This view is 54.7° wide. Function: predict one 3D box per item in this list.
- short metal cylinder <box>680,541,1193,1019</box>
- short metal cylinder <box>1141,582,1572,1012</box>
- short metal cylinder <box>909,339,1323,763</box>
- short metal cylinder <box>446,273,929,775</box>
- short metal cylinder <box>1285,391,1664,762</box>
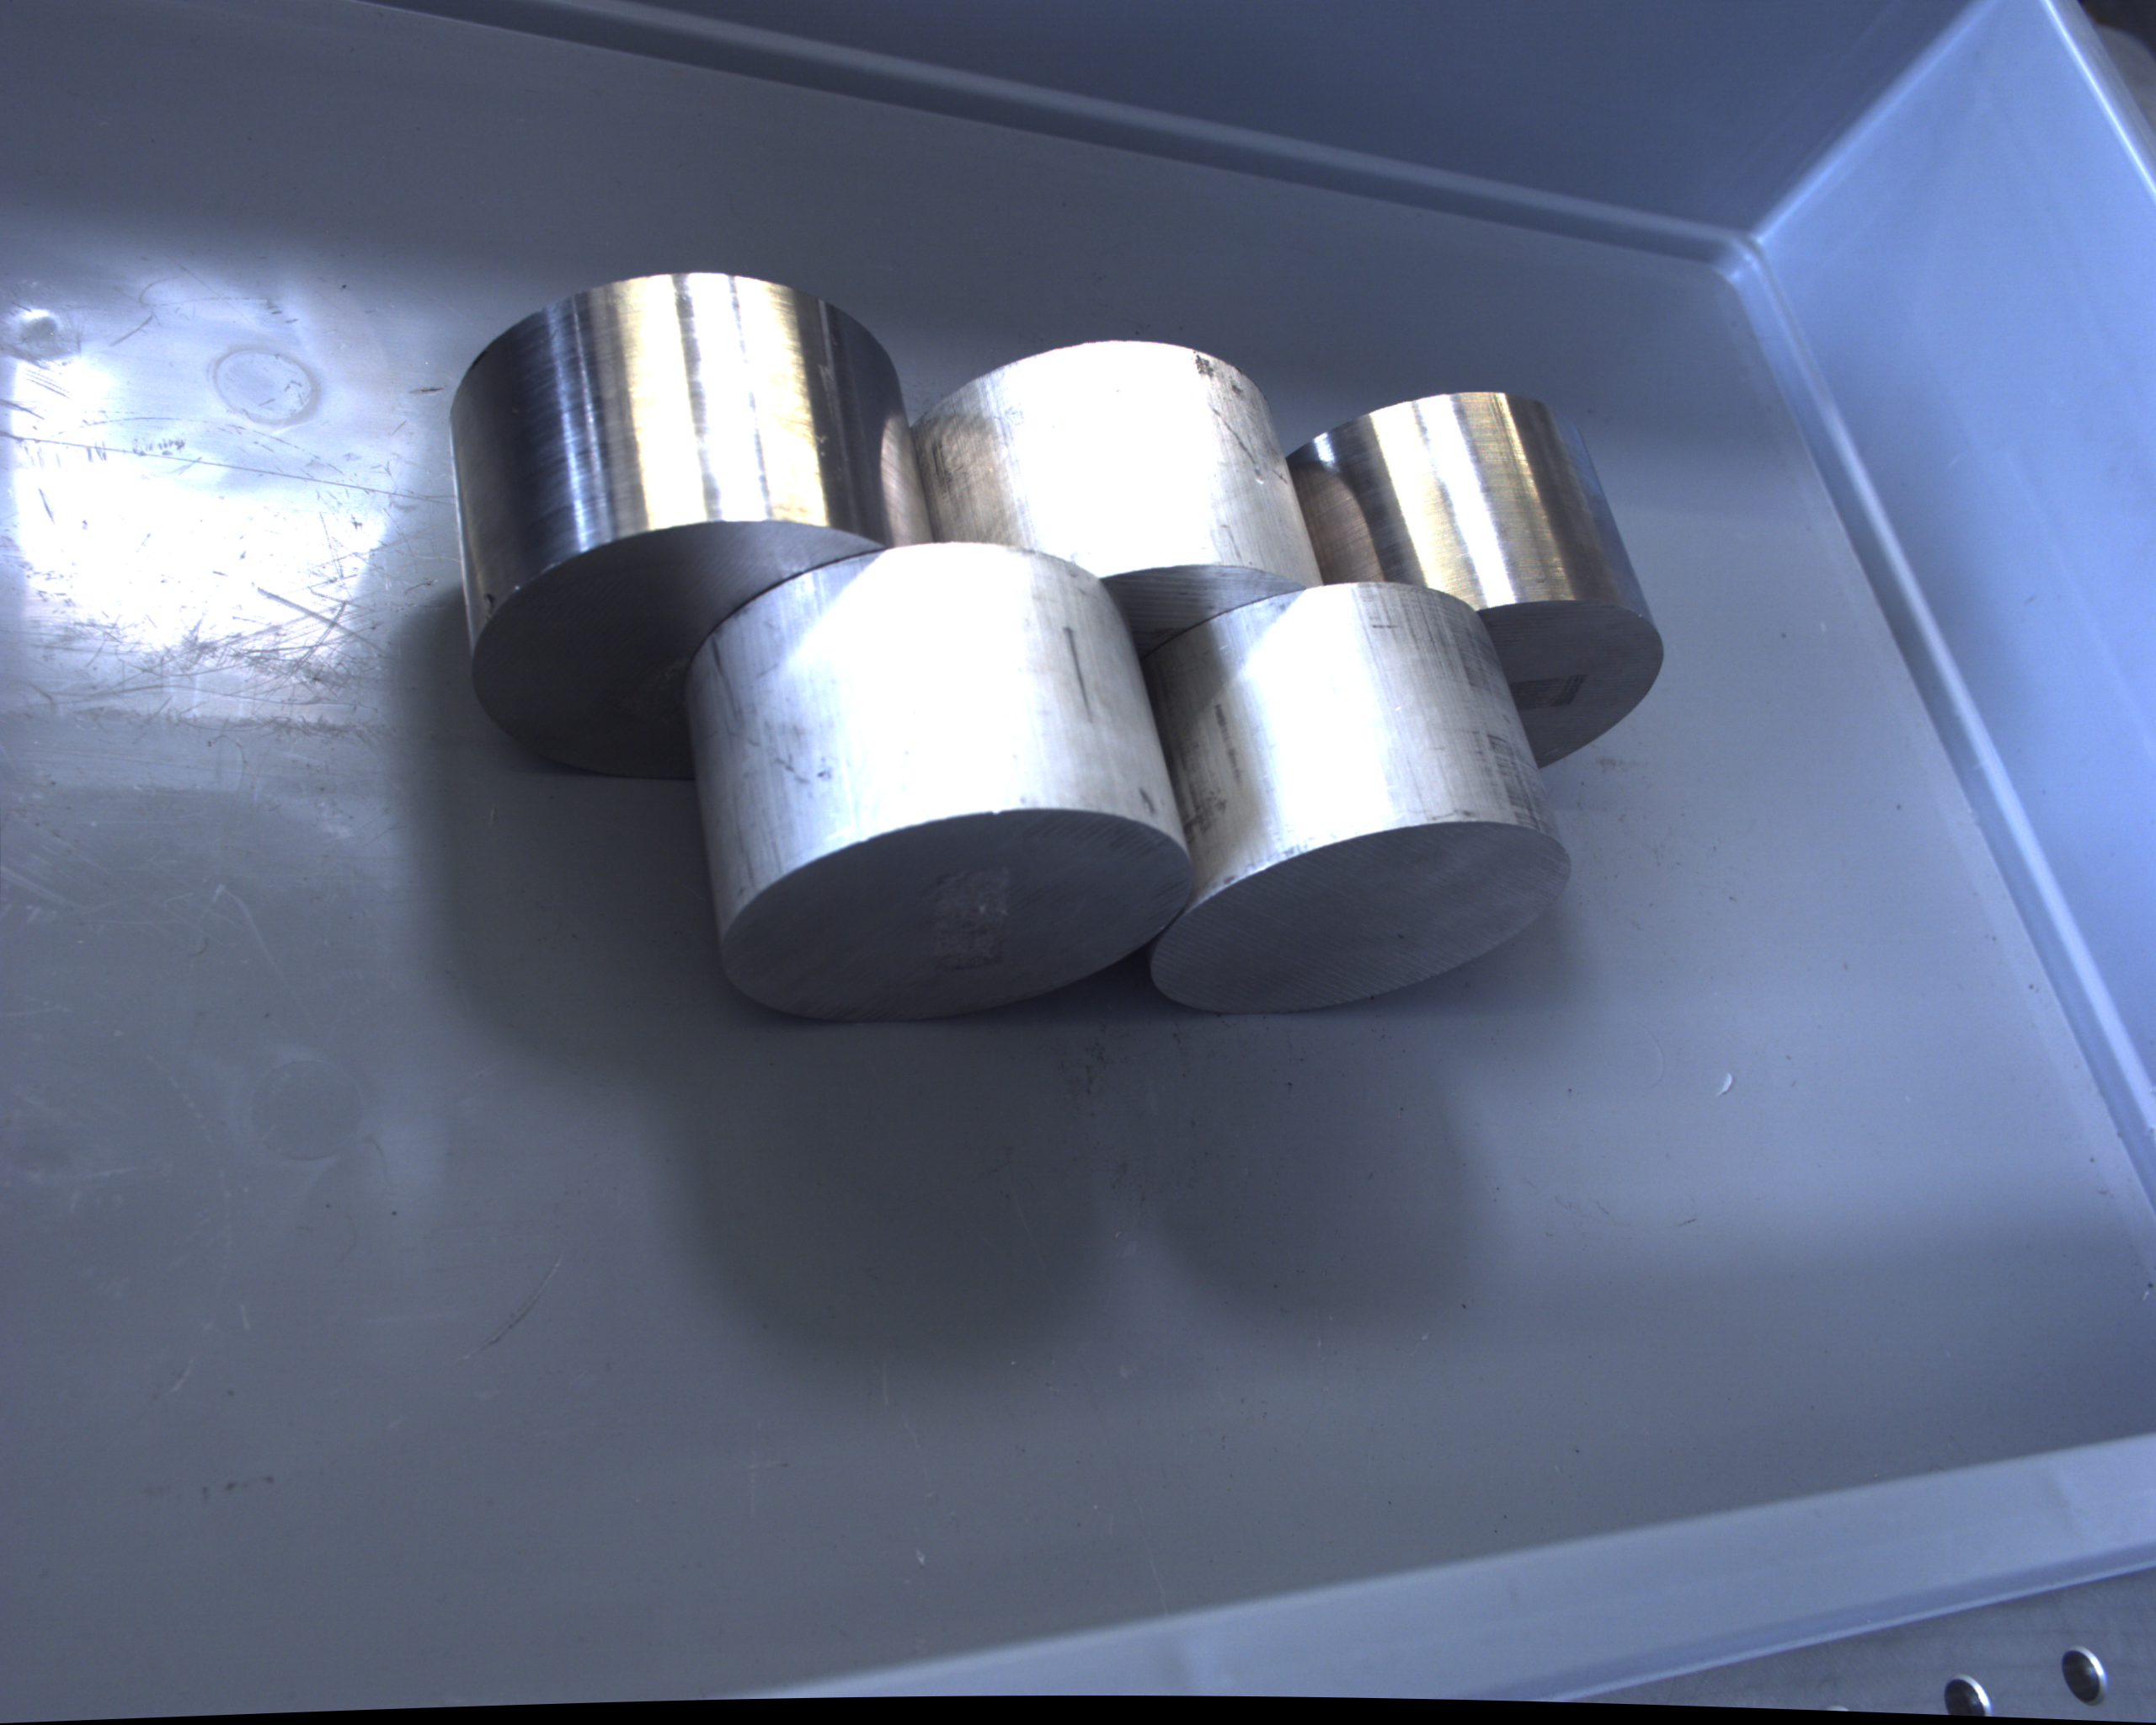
[{"bbox_3d":[-0.025,-0.012,0.362,0.081,0.080,0.050,1,62,-28],"label":"short metal cylinder"},{"bbox_3d":[0.048,-0.010,0.400,0.081,0.080,0.050,1,62,-28],"label":"short metal cylinder"},{"bbox_3d":[0.005,-0.055,0.404,0.081,0.080,0.050,1,62,-28],"label":"short metal cylinder"},{"bbox_3d":[-0.067,-0.057,0.367,0.081,0.080,0.050,1,62,-28],"label":"short metal cylinder"},{"bbox_3d":[0.077,-0.054,0.442,0.081,0.080,0.050,2,61,-28],"label":"short metal cylinder"}]
